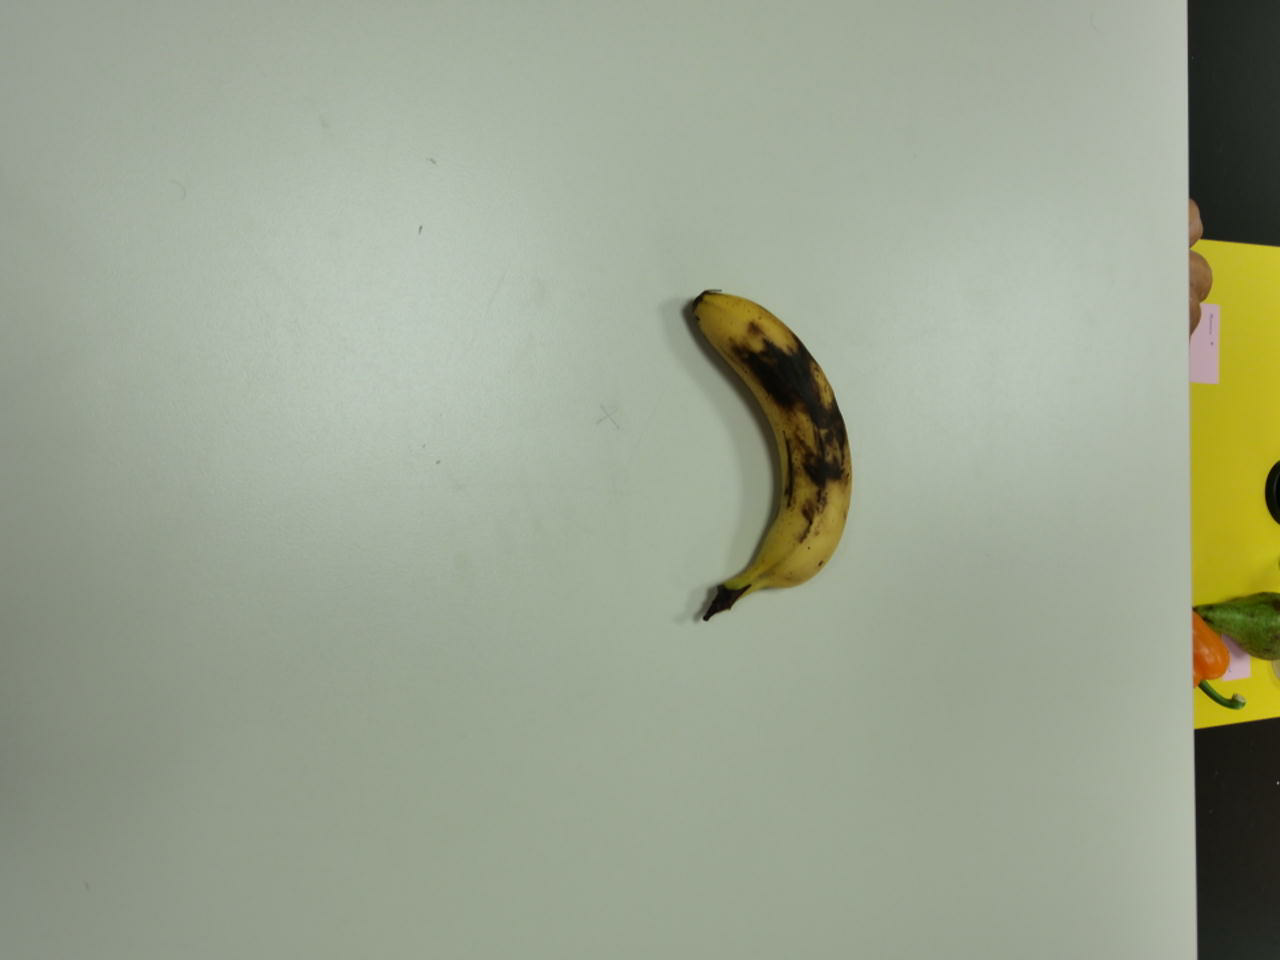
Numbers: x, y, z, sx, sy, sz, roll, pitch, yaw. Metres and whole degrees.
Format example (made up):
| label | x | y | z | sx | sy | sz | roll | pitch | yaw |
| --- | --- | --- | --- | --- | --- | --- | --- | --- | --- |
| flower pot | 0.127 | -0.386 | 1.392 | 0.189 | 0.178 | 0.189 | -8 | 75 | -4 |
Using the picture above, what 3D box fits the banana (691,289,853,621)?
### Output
| label | x | y | z | sx | sy | sz | roll | pitch | yaw |
| --- | --- | --- | --- | --- | --- | --- | --- | --- | --- |
| banana | 0.078 | -0.017 | 0.579 | 0.094 | 0.039 | 0.187 | -1 | 91 | -22 |
